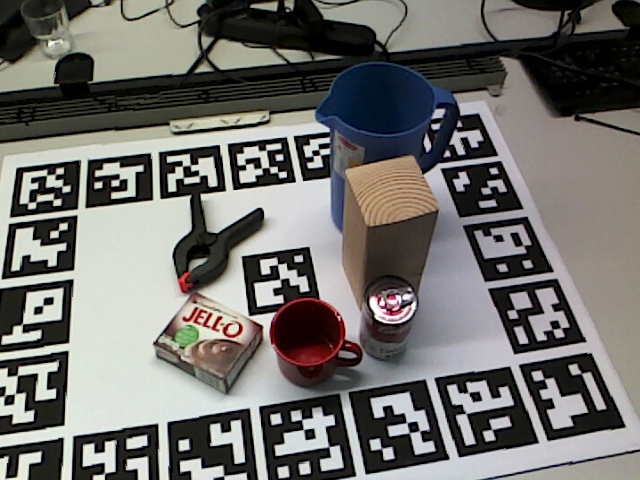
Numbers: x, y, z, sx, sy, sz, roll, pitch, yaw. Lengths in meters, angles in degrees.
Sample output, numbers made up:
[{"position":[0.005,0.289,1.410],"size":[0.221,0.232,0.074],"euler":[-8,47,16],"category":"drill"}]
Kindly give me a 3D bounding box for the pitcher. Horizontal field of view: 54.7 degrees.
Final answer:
[{"position":[0.089,-0.111,0.864],"size":[0.188,0.242,0.134],"euler":[-10,52,-3],"category":"pitcher"}]

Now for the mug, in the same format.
[{"position":[-0.005,0.138,0.780],"size":[0.117,0.081,0.093],"euler":[21,54,17],"category":"mug"}]

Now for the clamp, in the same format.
[{"position":[-0.159,0.006,0.915],"size":[0.122,0.036,0.165],"euler":[20,57,6],"category":"clamp"}]

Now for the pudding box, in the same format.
[{"position":[-0.152,0.134,0.815],"size":[0.114,0.038,0.090],"euler":[23,60,17],"category":"pudding box"}]

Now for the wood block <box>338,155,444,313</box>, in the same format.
[{"position":[0.085,-0.002,0.803],"size":[0.090,0.206,0.091],"euler":[-8,54,-10],"category":"wood block"}]

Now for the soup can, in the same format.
[{"position":[0.084,0.103,0.791],"size":[0.068,0.102,0.068],"euler":[0,56,0],"category":"soup can"}]
